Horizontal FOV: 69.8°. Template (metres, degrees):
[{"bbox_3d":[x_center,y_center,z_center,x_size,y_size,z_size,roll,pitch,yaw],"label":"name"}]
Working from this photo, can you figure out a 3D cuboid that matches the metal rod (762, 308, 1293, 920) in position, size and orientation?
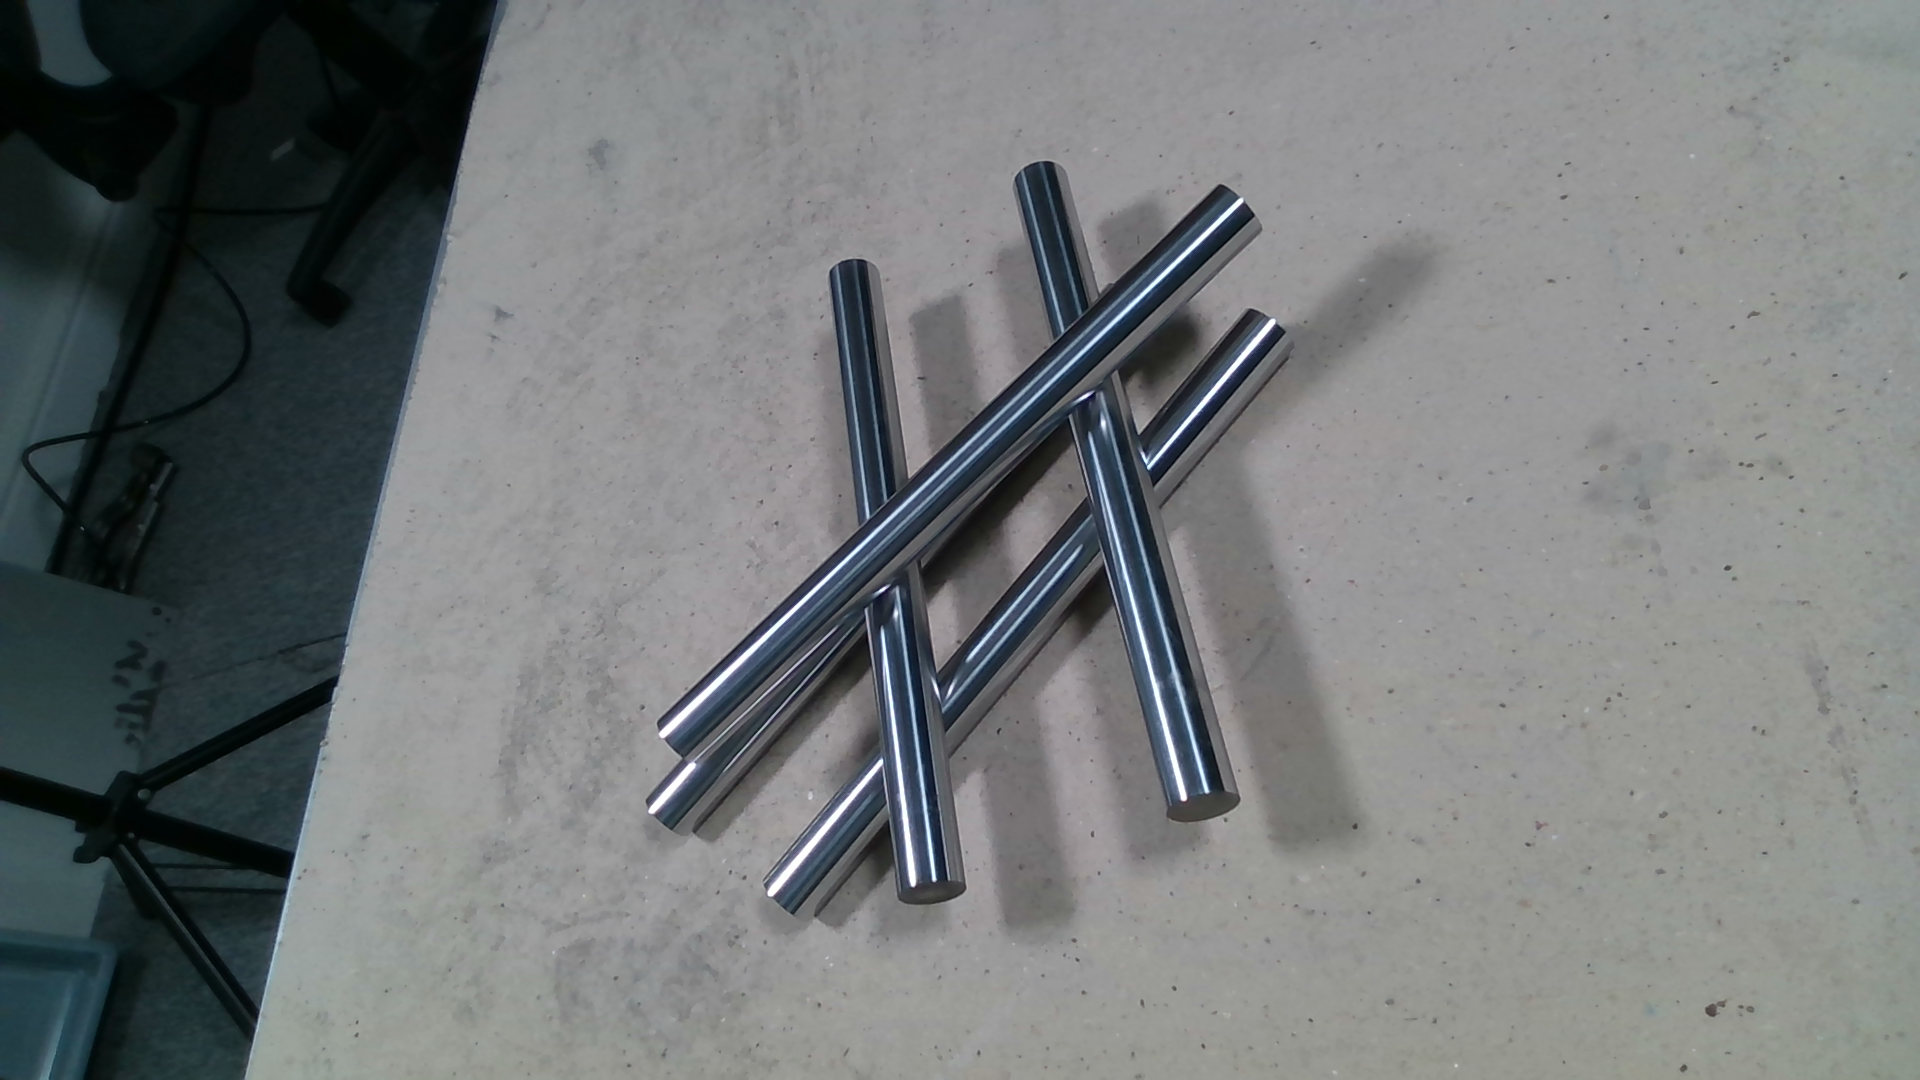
[{"bbox_3d":[0.027,0.029,0.553,0.300,0.025,0.025,-50,51,0],"label":"metal rod"}]

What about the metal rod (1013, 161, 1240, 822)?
[{"bbox_3d":[0.058,-0.036,0.537,0.025,0.025,0.299,-23,55,20],"label":"metal rod"}]

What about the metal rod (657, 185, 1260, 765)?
[{"bbox_3d":[-0.003,-0.023,0.535,0.300,0.025,0.025,-44,51,5],"label":"metal rod"}]

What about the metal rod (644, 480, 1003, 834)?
[{"bbox_3d":[-0.028,0.008,0.598,0.300,0.025,0.025,-48,51,1],"label":"metal rod"}]

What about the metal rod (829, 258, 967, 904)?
[{"bbox_3d":[-0.030,0.001,0.572,0.025,0.025,0.299,-22,56,20],"label":"metal rod"}]
